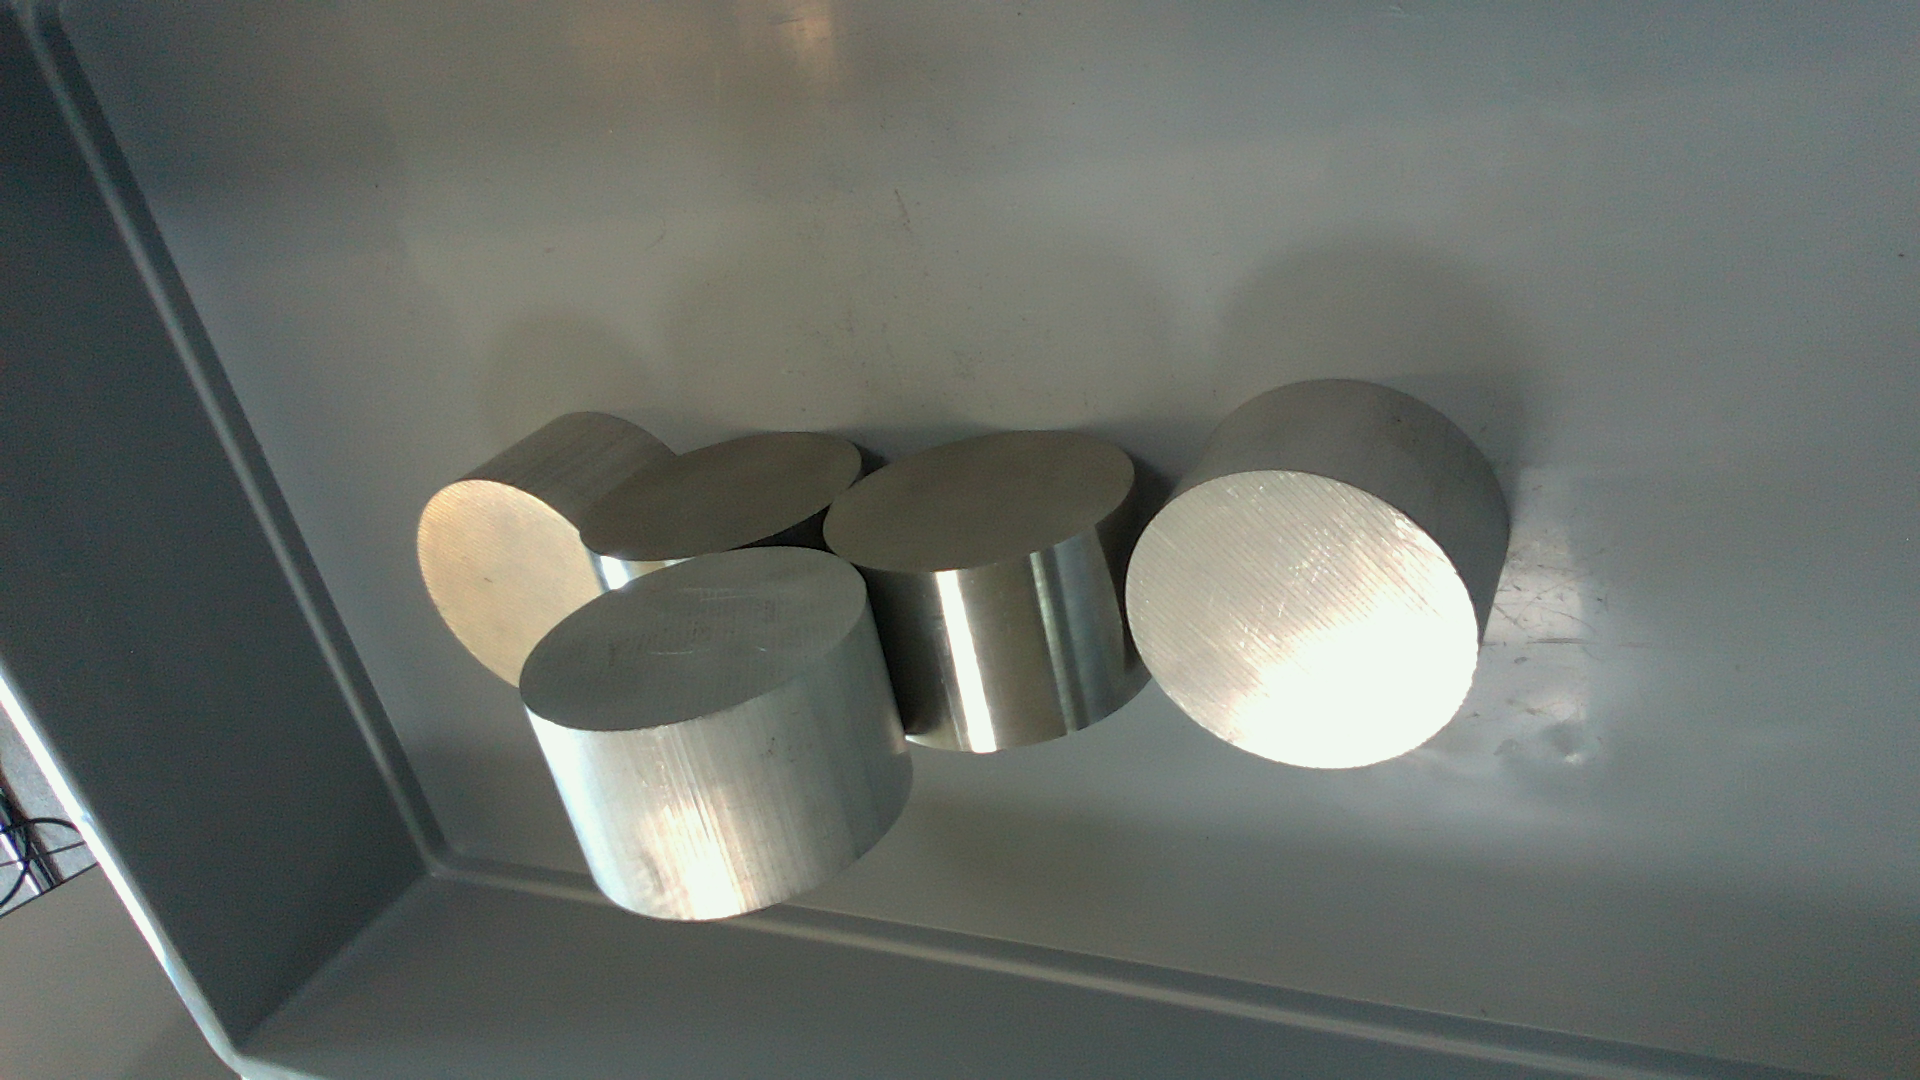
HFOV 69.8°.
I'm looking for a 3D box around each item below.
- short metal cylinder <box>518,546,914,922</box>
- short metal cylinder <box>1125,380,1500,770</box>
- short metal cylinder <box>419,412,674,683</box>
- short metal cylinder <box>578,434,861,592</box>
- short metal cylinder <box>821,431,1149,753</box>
[{"bbox_3d":[-0.055,0.042,0.323,0.080,0.080,0.050,2,119,28],"label":"short metal cylinder"},{"bbox_3d":[0.086,0.008,0.334,0.080,0.050,0.080,13,124,21],"label":"short metal cylinder"},{"bbox_3d":[-0.125,0.005,0.446,0.080,0.050,0.080,13,124,21],"label":"short metal cylinder"},{"bbox_3d":[-0.062,0.009,0.394,0.080,0.080,0.050,2,119,28],"label":"short metal cylinder"},{"bbox_3d":[0.009,0.011,0.357,0.080,0.080,0.050,2,119,28],"label":"short metal cylinder"}]
